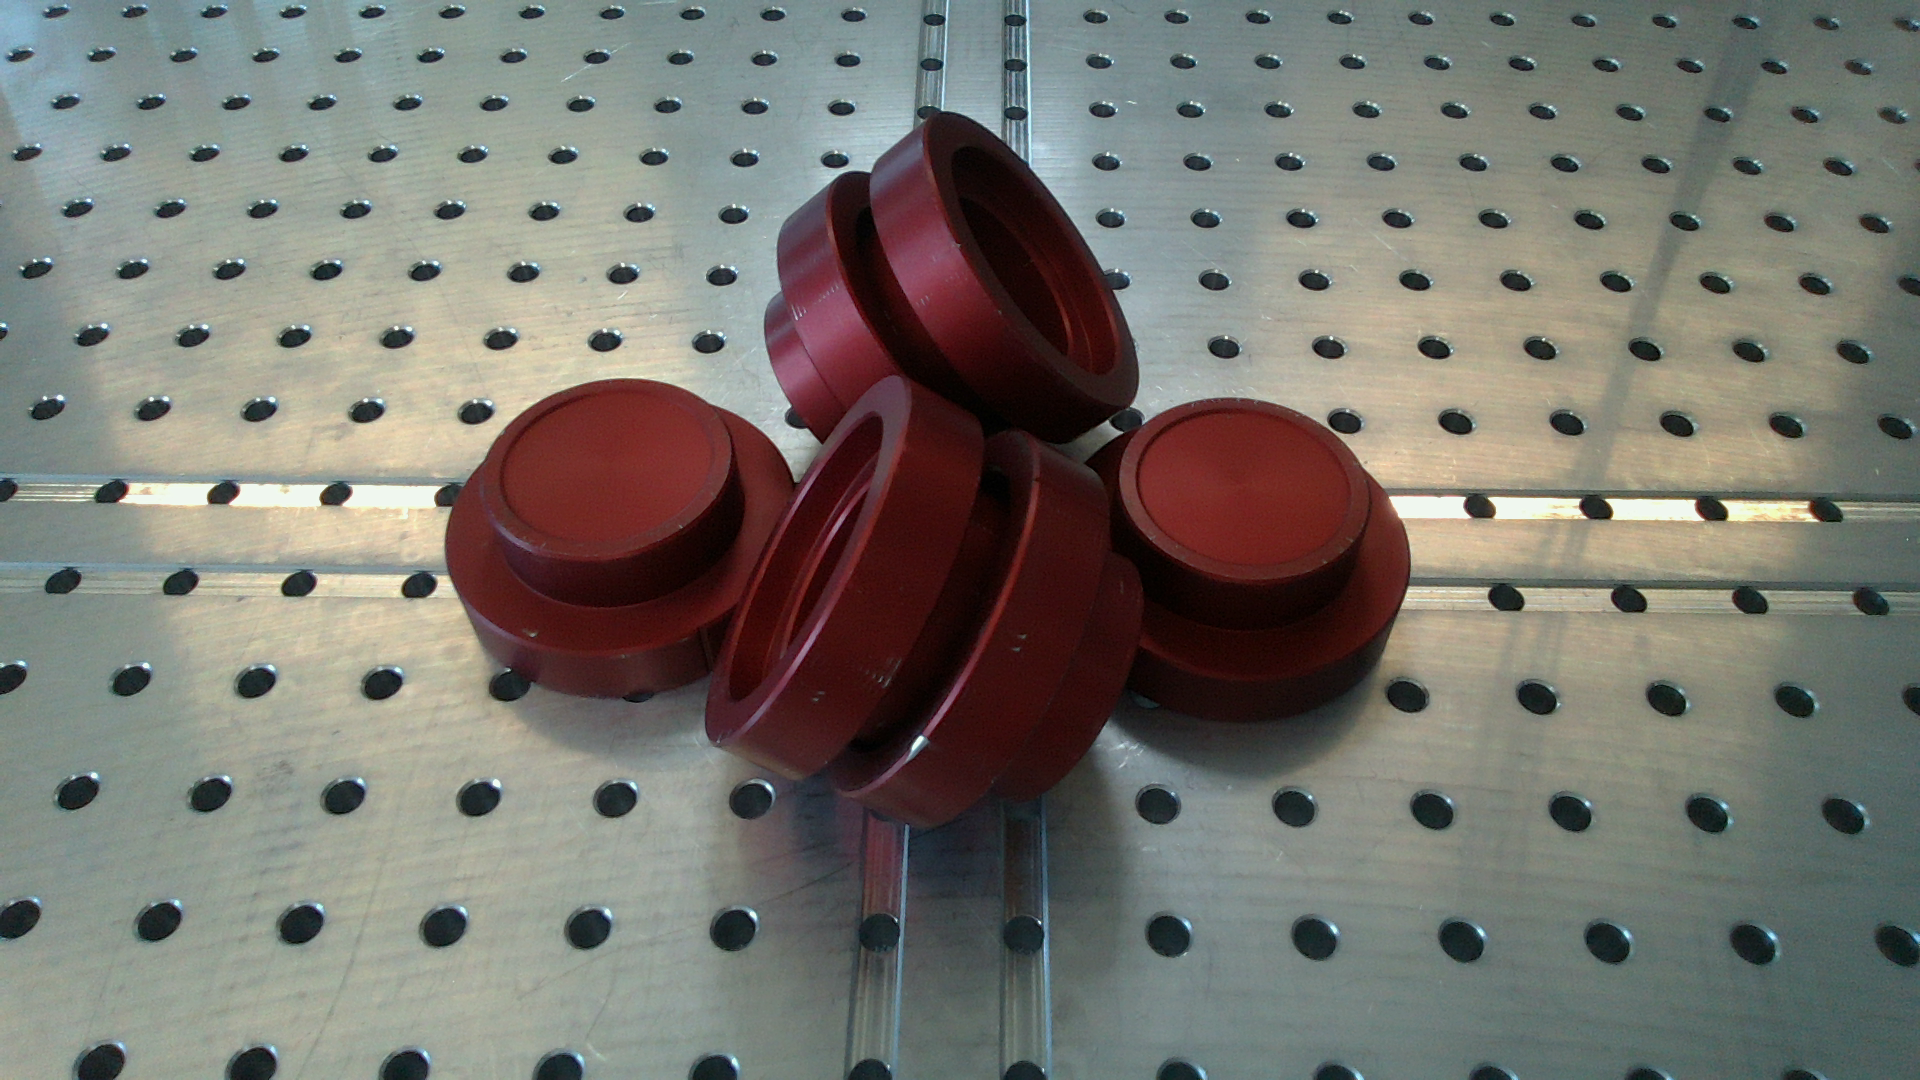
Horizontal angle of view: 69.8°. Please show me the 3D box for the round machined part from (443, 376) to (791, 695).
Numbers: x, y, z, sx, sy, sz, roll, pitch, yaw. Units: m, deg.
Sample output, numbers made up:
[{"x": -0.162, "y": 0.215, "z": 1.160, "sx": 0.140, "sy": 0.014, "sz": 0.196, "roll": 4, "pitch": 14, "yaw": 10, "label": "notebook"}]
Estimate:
[{"x": -0.096, "y": -0.008, "z": 0.390, "sx": 0.098, "sy": 0.042, "sz": 0.098, "roll": 0, "pitch": 50, "yaw": 0, "label": "round machined part"}]

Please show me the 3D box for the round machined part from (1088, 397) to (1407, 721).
[{"x": 0.075, "y": -0.002, "z": 0.385, "sx": 0.098, "sy": 0.042, "sz": 0.098, "roll": 0, "pitch": 50, "yaw": 0, "label": "round machined part"}]

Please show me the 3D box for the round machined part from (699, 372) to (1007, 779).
[{"x": -0.021, "y": 0.012, "z": 0.330, "sx": 0.042, "sy": 0.098, "sz": 0.098, "roll": 28, "pitch": 48, "yaw": -18, "label": "round machined part"}]

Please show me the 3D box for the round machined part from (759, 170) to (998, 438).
[{"x": -0.021, "y": -0.057, "z": 0.410, "sx": 0.042, "sy": 0.098, "sz": 0.098, "roll": -32, "pitch": 44, "yaw": 26, "label": "round machined part"}]

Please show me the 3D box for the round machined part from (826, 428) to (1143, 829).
[{"x": 0.008, "y": 0.025, "z": 0.338, "sx": 0.042, "sy": 0.098, "sz": 0.098, "roll": 28, "pitch": 48, "yaw": -17, "label": "round machined part"}]

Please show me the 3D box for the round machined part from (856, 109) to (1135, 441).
[{"x": 0.005, "y": -0.071, "z": 0.398, "sx": 0.042, "sy": 0.098, "sz": 0.098, "roll": -32, "pitch": 44, "yaw": 26, "label": "round machined part"}]
